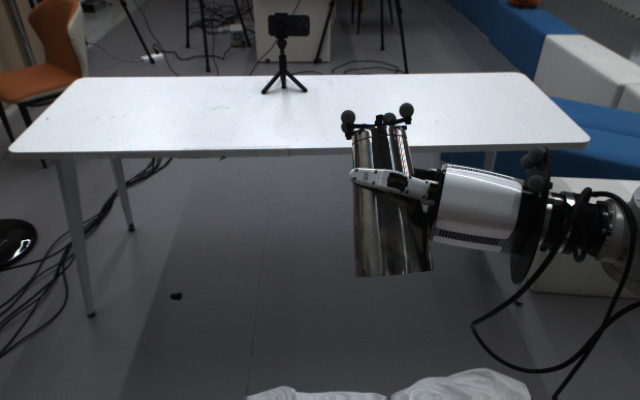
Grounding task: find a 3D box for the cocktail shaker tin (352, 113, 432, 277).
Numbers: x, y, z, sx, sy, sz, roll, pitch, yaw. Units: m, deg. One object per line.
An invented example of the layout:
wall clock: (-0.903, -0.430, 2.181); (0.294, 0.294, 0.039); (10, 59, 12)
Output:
cocktail shaker tin: (0.081, 0.003, 0.581); (0.093, 0.170, 0.093); (-6, -7, -1)
